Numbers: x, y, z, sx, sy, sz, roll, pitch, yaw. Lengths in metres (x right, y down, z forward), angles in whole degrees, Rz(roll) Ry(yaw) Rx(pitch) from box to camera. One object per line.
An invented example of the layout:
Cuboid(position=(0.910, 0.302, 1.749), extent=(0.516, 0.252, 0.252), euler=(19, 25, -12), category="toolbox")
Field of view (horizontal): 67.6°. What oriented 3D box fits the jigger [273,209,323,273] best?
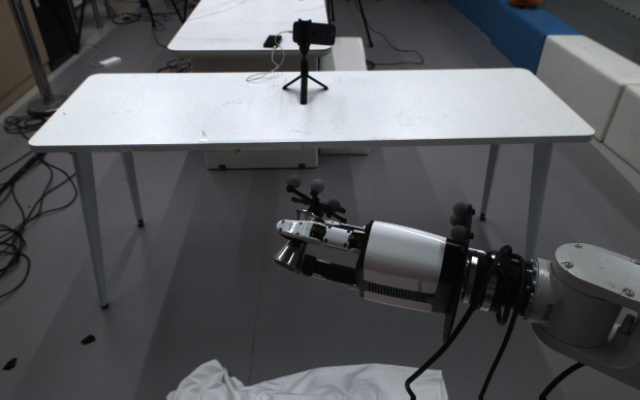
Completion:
Cuboid(position=(-0.026, 0.047, 0.583), extent=(0.043, 0.043, 0.071), euler=(20, 74, 24), category="jigger")
